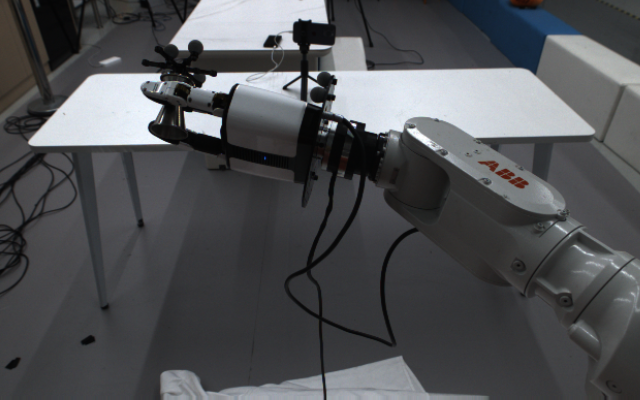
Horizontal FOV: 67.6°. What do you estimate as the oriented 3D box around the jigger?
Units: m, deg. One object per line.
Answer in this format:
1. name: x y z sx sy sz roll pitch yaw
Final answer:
1. jigger: -0.176 -0.111 0.580 0.043 0.043 0.071 4 75 2
